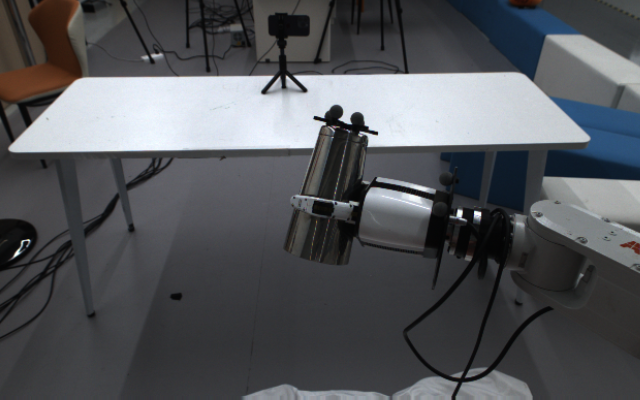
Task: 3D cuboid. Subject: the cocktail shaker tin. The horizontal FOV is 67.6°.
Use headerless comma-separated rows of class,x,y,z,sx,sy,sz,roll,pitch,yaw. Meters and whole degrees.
cocktail shaker tin,0.015,-0.008,0.649,0.093,0.170,0.093,13,4,-1
